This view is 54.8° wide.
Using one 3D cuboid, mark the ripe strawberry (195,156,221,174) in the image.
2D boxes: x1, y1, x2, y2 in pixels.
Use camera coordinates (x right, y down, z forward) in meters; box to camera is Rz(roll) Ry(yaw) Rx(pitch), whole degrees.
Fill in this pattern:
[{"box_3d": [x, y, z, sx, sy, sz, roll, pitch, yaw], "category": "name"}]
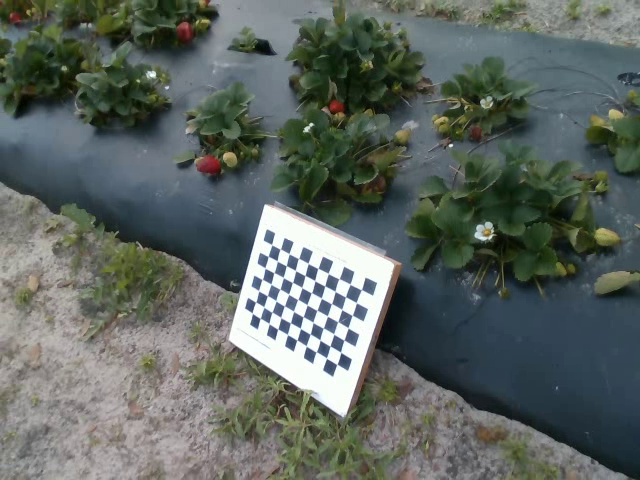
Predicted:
[{"box_3d": [-0.244, -0.158, 1.312, 0.046, 0.046, 0.059, 19, 32, 37], "category": "ripe strawberry"}]
